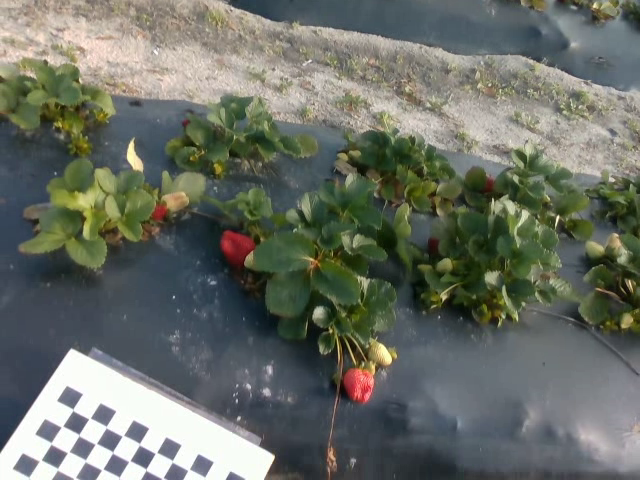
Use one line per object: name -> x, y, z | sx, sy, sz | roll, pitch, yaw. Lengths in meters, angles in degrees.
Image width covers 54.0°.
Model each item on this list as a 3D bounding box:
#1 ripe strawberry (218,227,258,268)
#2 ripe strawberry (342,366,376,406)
ripe strawberry -> -0.135, 0.011, 0.994 | 0.071, 0.058, 0.057 | 49, -23, -24
ripe strawberry -> 0.058, 0.208, 0.880 | 0.047, 0.050, 0.035 | 10, -24, -11
